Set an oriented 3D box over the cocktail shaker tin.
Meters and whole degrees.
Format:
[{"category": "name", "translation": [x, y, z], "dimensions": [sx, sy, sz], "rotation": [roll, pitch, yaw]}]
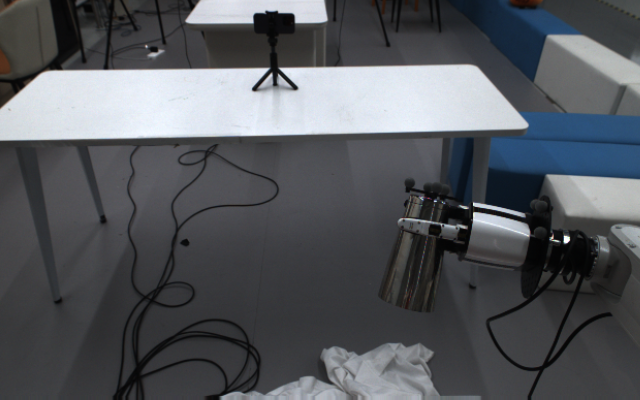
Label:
[{"category": "cocktail shaker tin", "translation": [0.158, 0.078, 0.772], "dimensions": [0.093, 0.170, 0.093], "rotation": [12, 3, -1]}]
